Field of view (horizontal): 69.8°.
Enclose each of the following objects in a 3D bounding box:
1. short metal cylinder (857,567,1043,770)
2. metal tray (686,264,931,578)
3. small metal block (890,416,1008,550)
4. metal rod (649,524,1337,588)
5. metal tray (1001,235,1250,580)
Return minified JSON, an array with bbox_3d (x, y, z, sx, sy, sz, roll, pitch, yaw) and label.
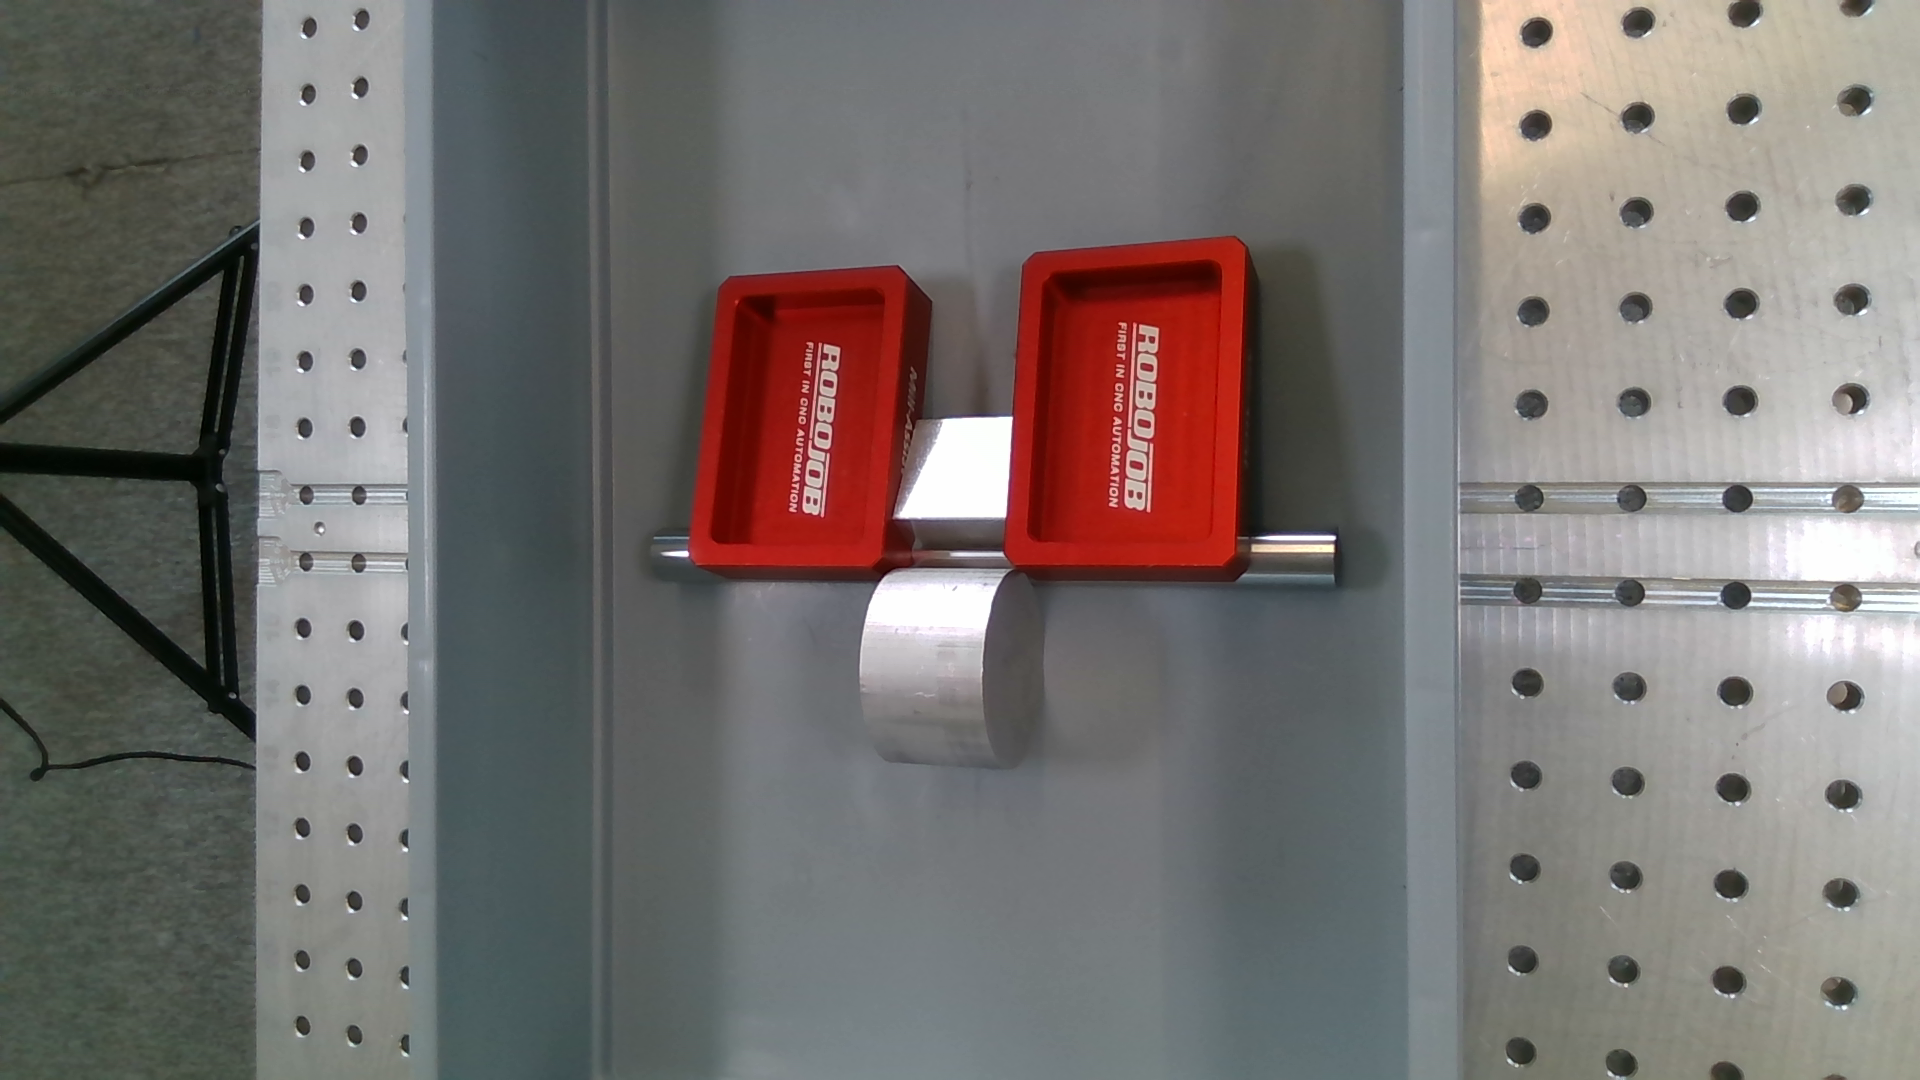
[{"bbox_3d":[-0.002,0.051,0.557,0.050,0.080,0.080,0,90,20],"label":"short metal cylinder"},{"bbox_3d":[-0.064,-0.049,0.590,0.090,0.030,0.130,0,78,21],"label":"metal tray"},{"bbox_3d":[0.003,-0.024,0.572,0.050,0.025,0.050,1,59,20],"label":"small metal block"},{"bbox_3d":[0.004,0.006,0.583,0.300,0.025,0.025,0,90,20],"label":"metal rod"},{"bbox_3d":[0.067,-0.051,0.542,0.090,0.030,0.130,0,78,20],"label":"metal tray"}]
